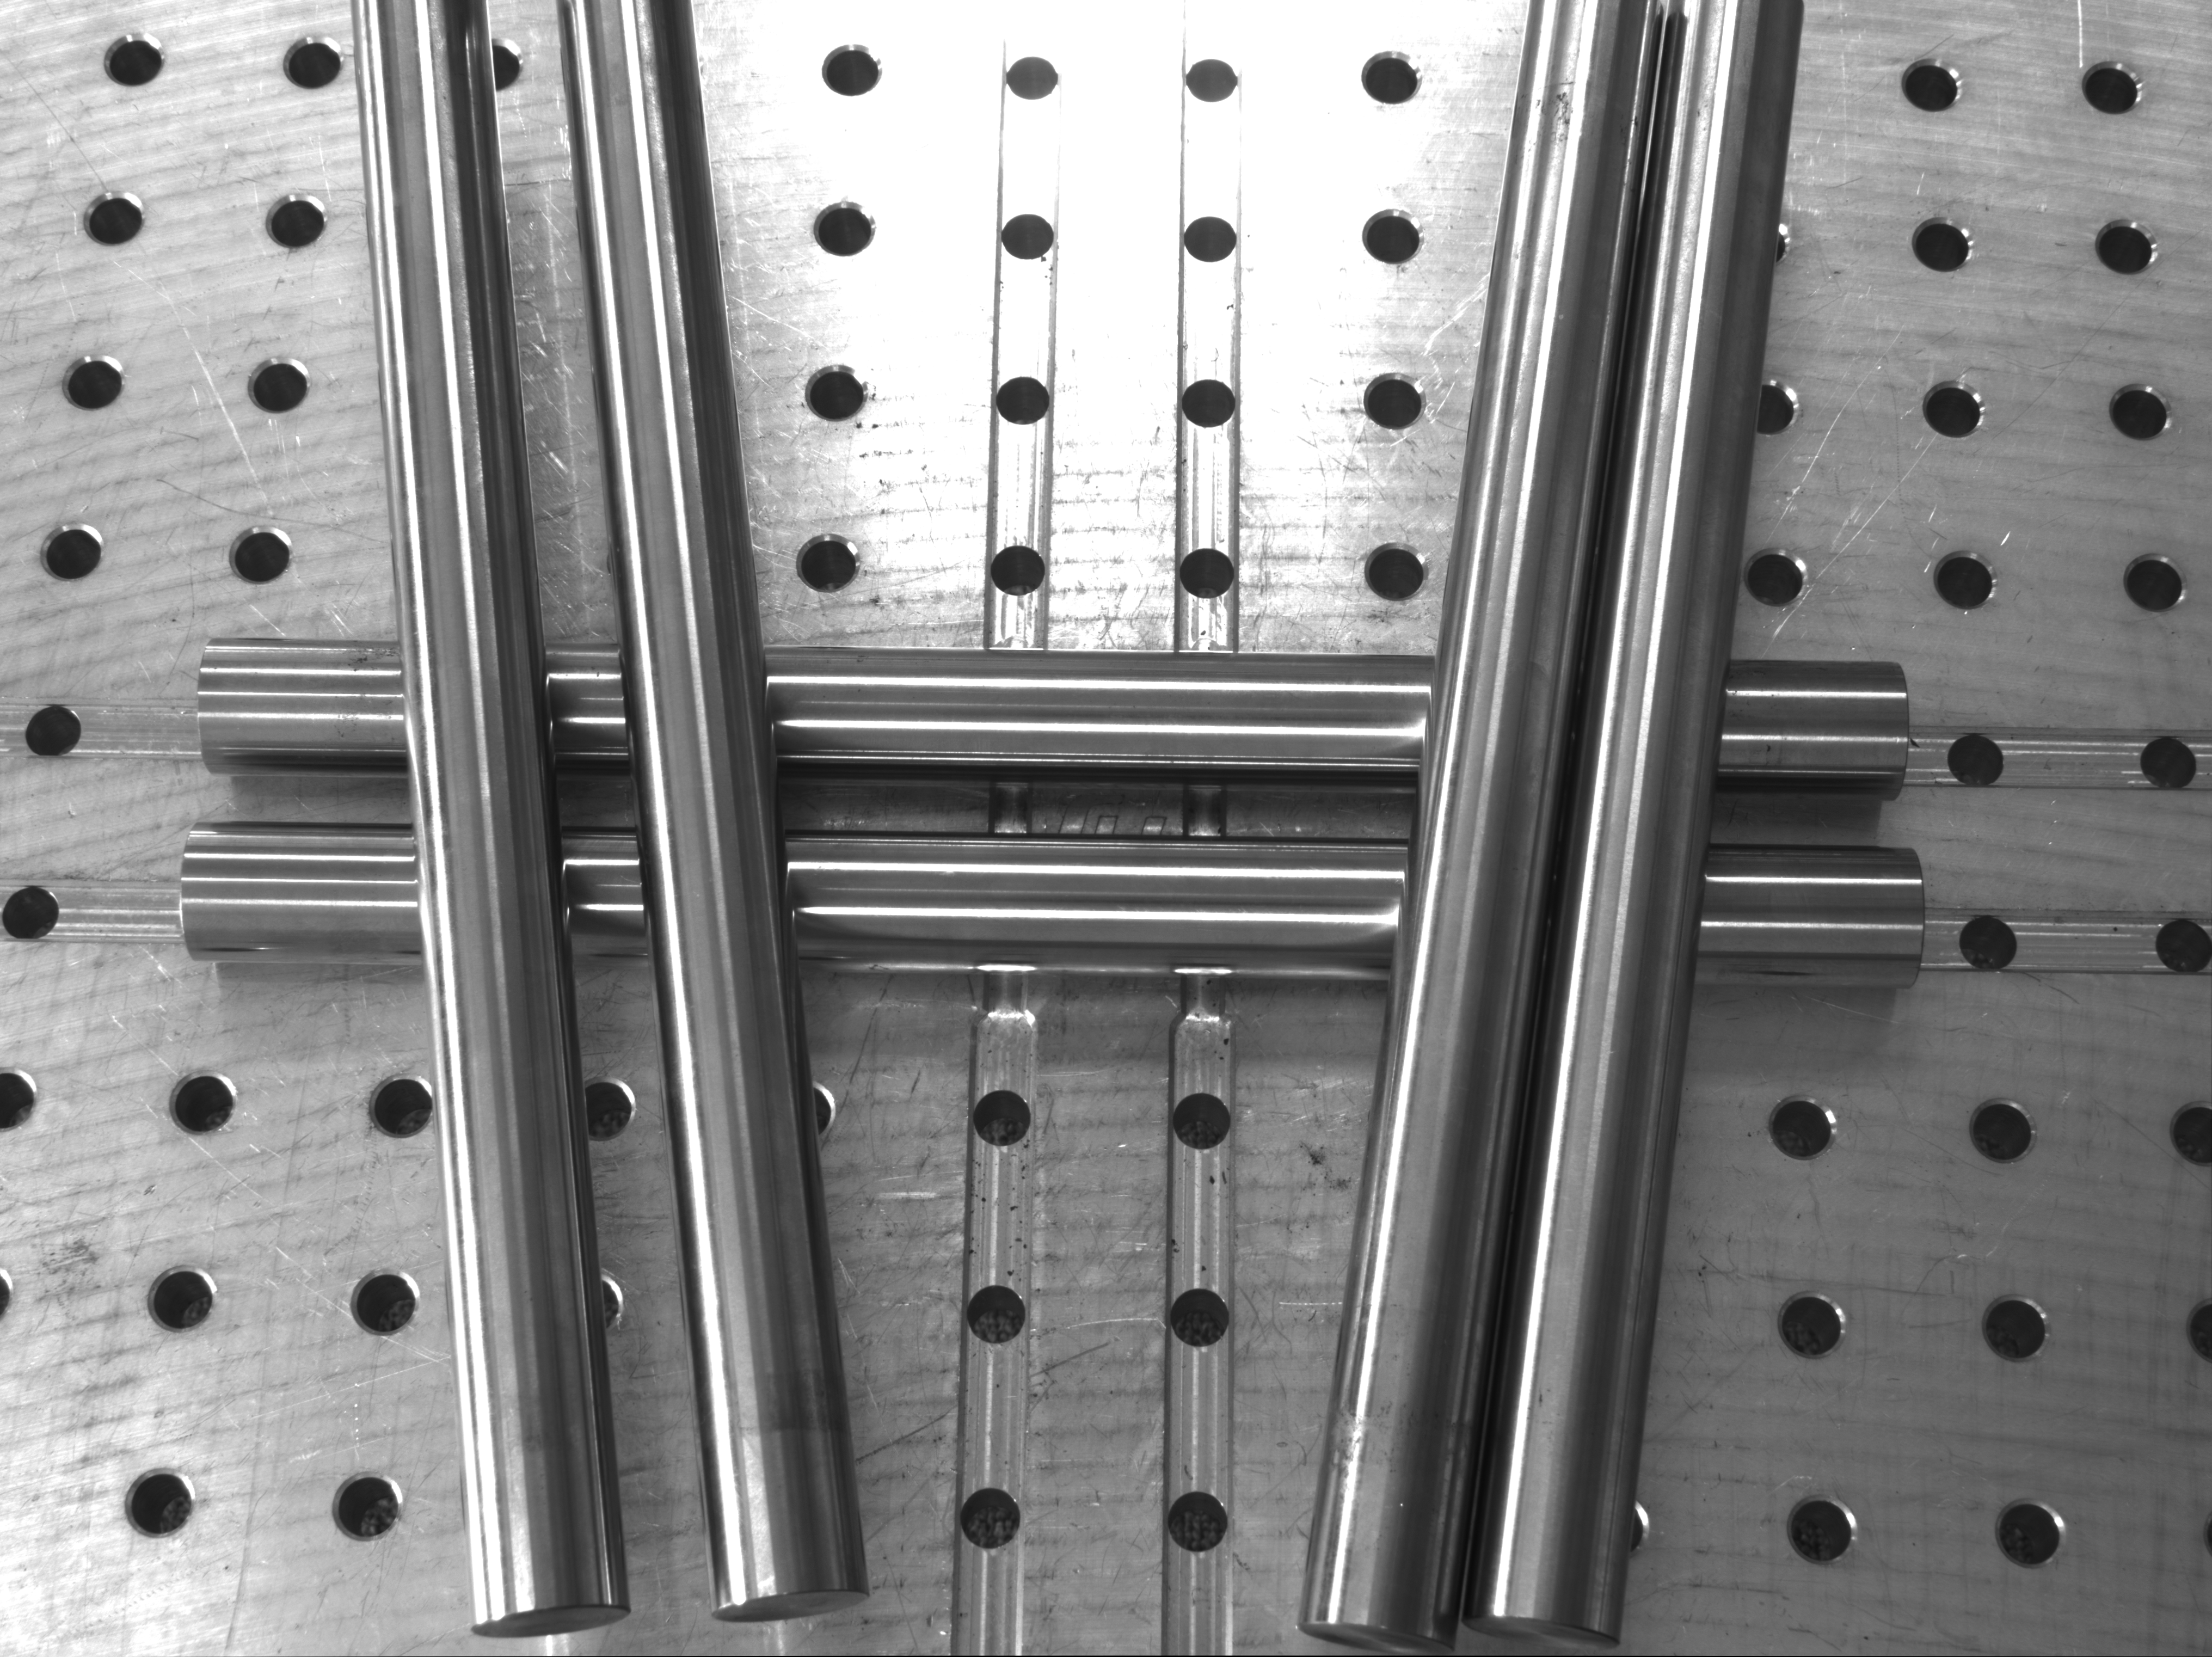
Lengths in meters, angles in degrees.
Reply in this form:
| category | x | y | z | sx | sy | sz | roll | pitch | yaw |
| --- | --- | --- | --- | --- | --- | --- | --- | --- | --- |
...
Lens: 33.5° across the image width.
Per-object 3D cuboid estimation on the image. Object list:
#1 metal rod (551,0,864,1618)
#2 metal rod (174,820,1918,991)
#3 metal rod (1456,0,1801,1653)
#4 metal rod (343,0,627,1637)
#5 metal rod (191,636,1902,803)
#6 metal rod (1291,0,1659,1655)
| category | x | y | z | sx | sy | sz | roll | pitch | yaw |
| --- | --- | --- | --- | --- | --- | --- | --- | --- | --- |
| metal rod | -0.070 | -0.017 | 0.628 | 0.025 | 0.025 | 0.300 | -7 | 70 | -2 |
| metal rod | -0.010 | 0.013 | 0.644 | 0.300 | 0.025 | 0.025 | 1 | 70 | 0 |
| metal rod | 0.091 | -0.012 | 0.627 | 0.025 | 0.025 | 0.300 | 9 | 70 | 3 |
| metal rod | -0.108 | -0.015 | 0.627 | 0.025 | 0.025 | 0.300 | -7 | 70 | -3 |
| metal rod | -0.010 | -0.019 | 0.656 | 0.300 | 0.025 | 0.025 | 1 | 70 | 0 |
| metal rod | 0.065 | -0.012 | 0.626 | 0.025 | 0.025 | 0.300 | 9 | 70 | 3 |
